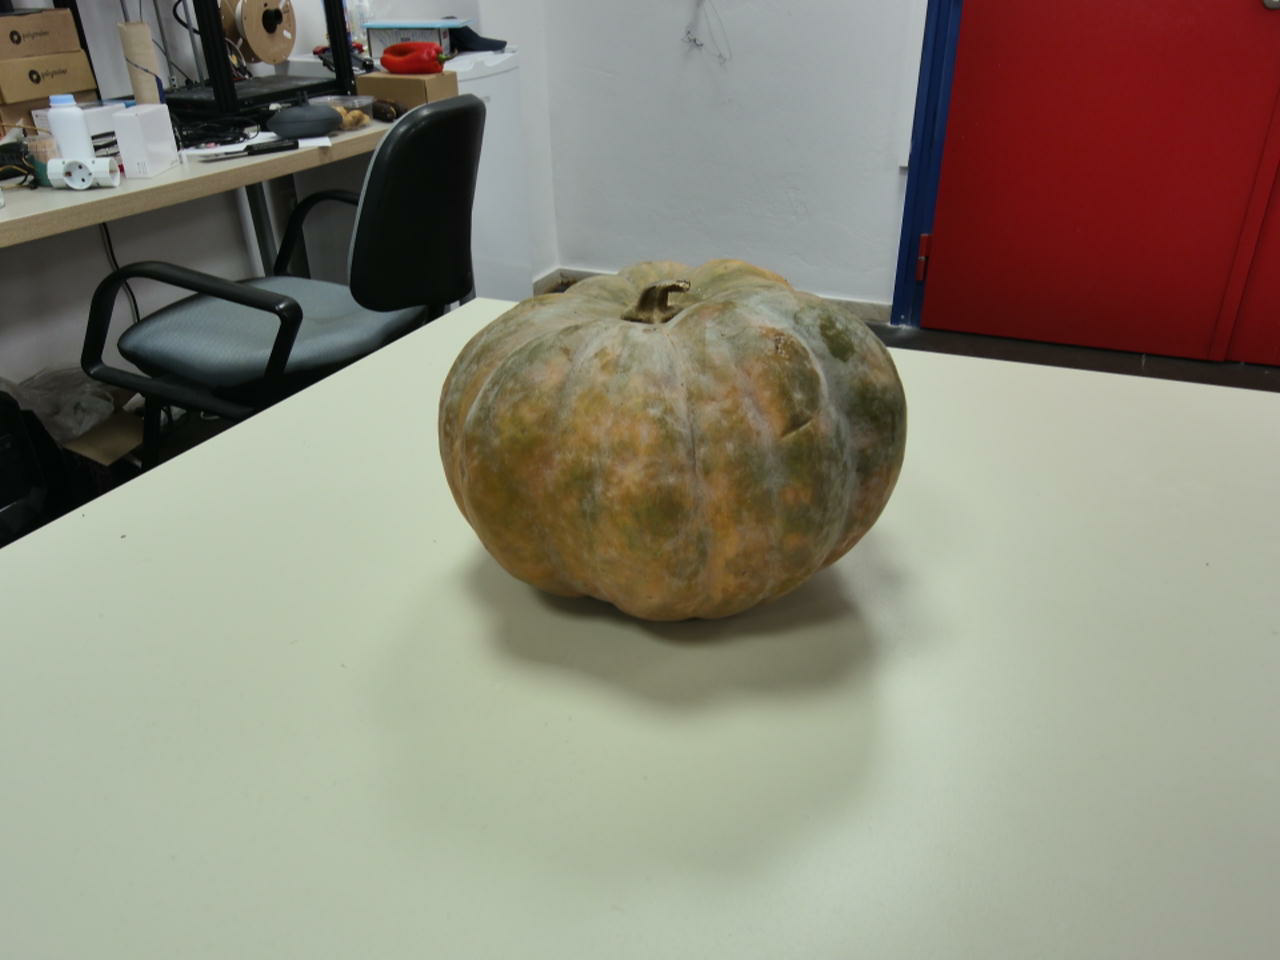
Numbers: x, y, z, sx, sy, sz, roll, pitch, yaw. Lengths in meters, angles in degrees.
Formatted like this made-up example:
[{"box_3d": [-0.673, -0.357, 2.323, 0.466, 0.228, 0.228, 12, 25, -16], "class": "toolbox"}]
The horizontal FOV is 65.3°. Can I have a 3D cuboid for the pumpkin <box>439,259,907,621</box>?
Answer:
[{"box_3d": [0.013, -0.029, 0.544, 0.252, 0.169, 0.251, 0, 26, 0], "class": "pumpkin"}]
